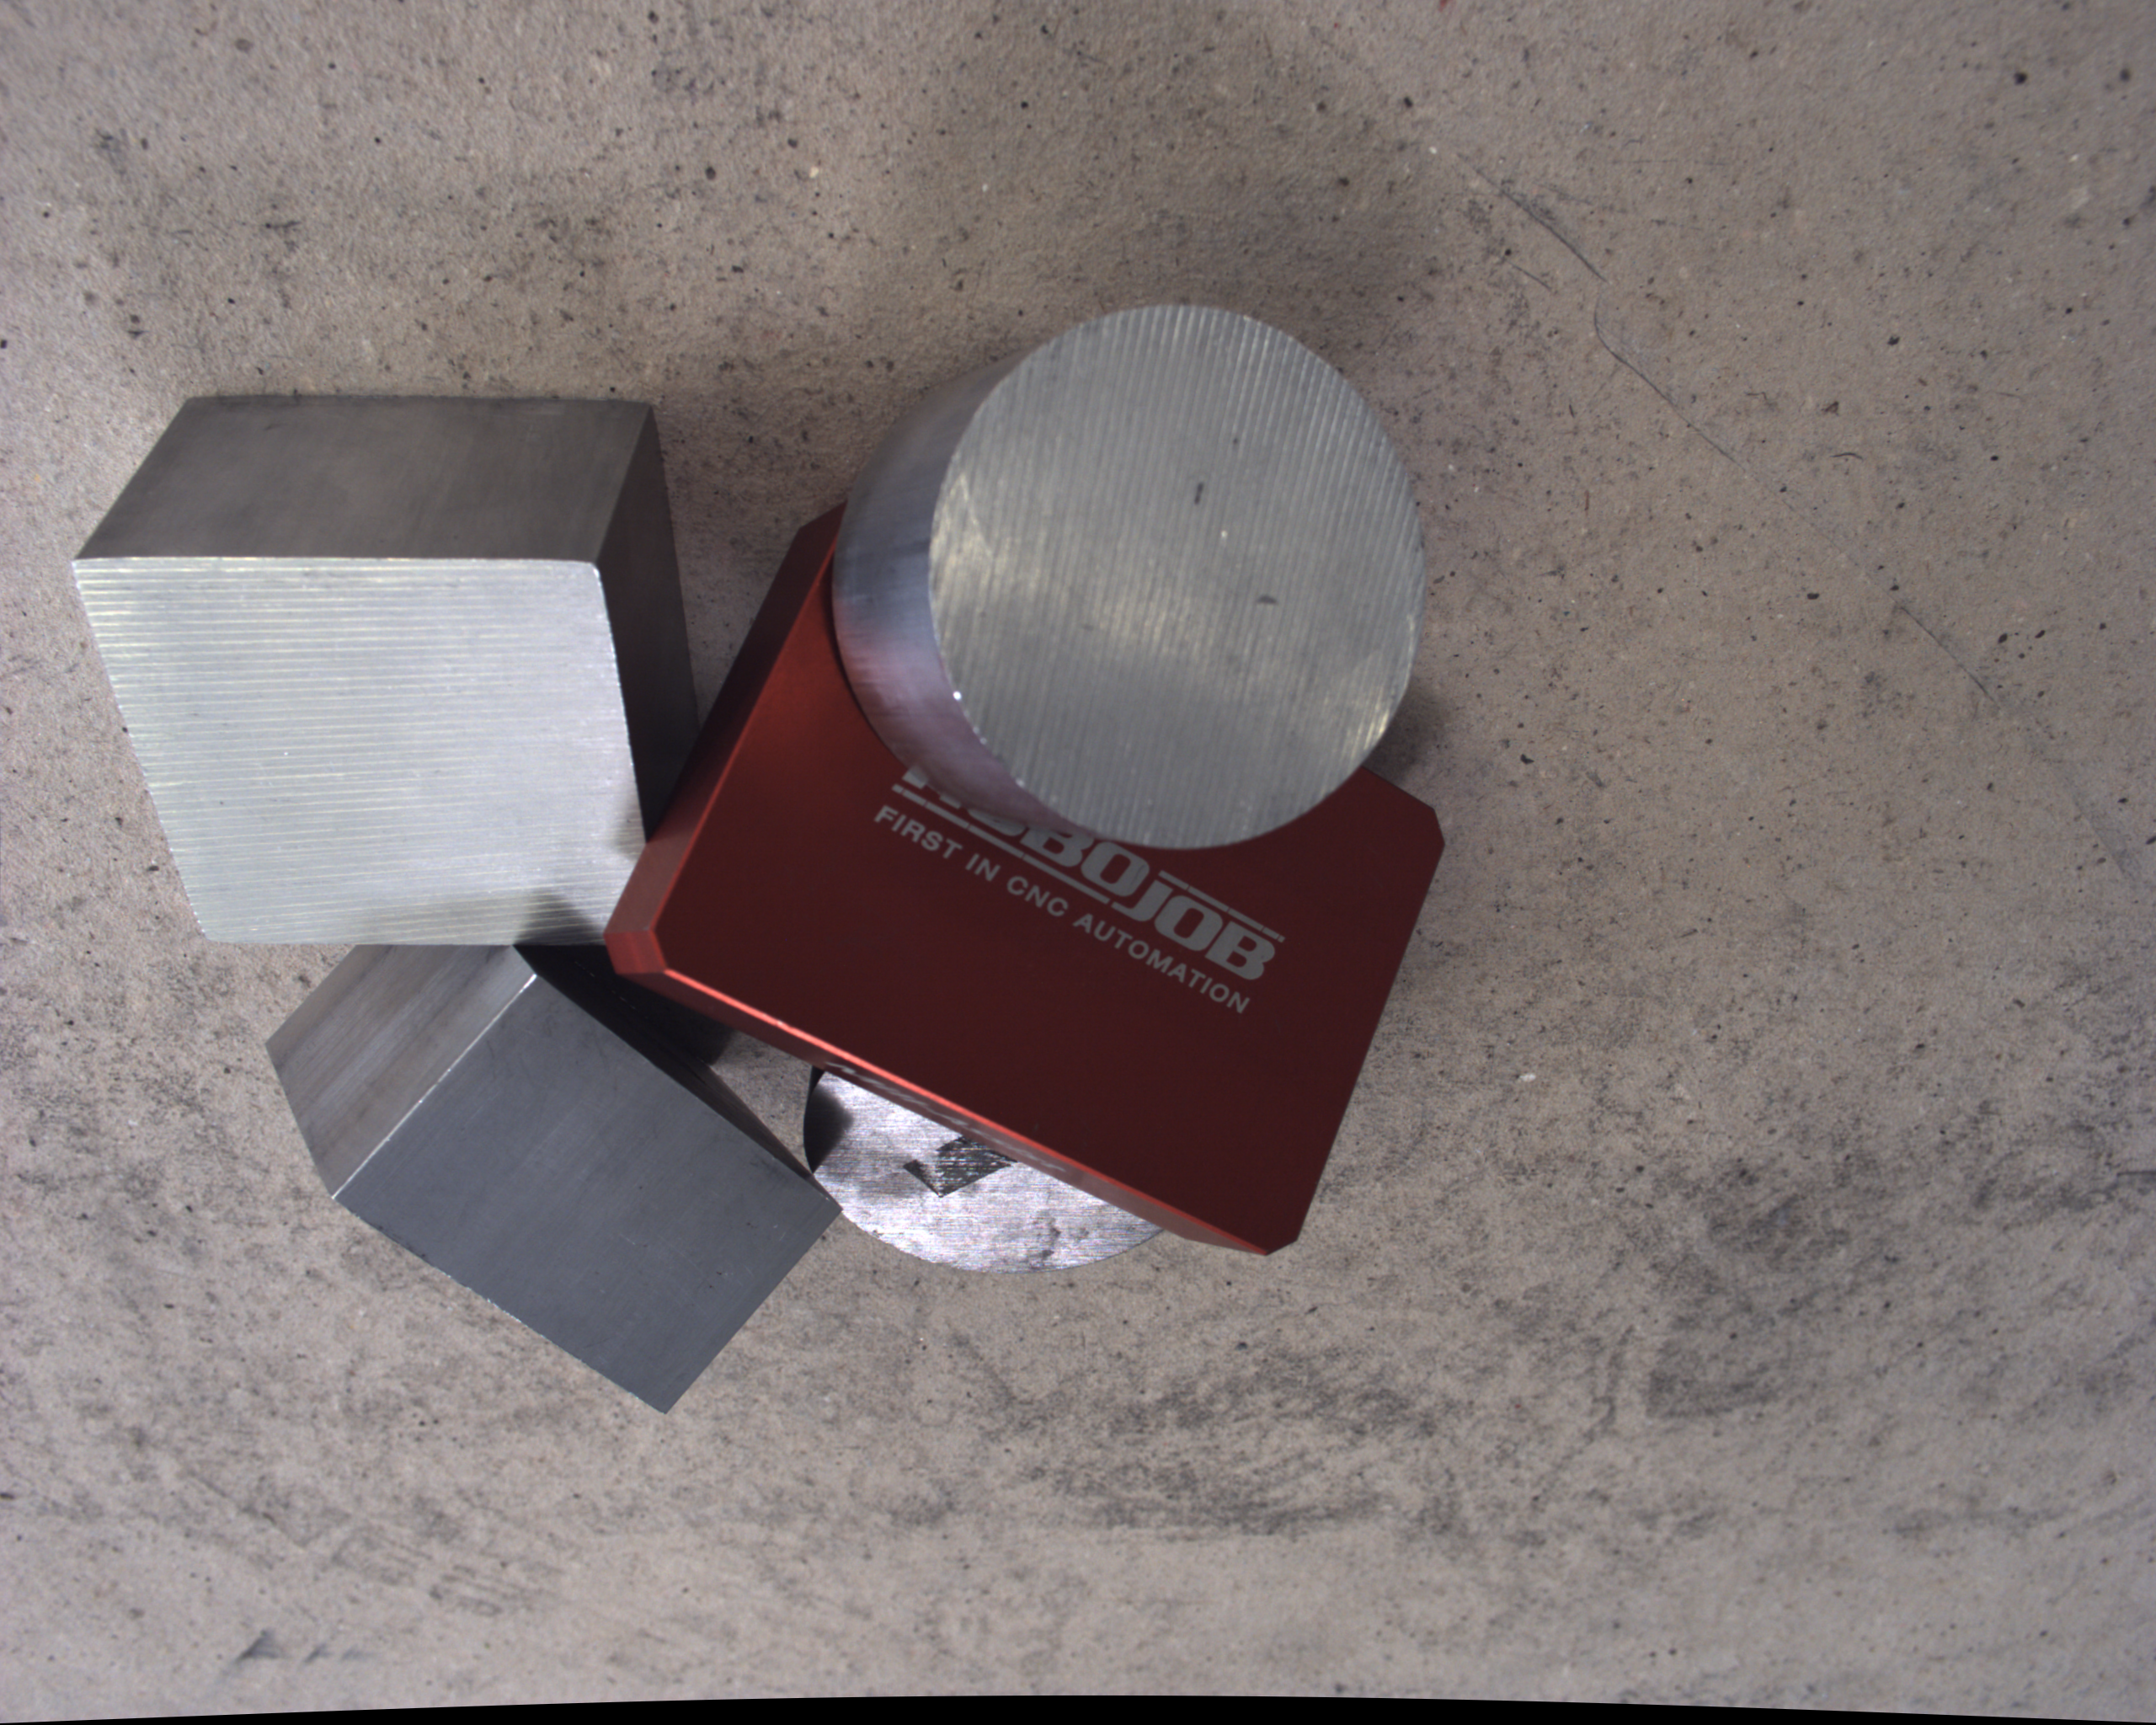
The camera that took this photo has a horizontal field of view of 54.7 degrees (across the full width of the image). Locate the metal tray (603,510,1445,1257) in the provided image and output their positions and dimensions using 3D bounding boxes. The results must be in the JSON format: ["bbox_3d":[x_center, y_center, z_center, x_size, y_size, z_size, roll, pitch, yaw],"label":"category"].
[{"bbox_3d":[-0.005,0.004,0.371,0.131,0.090,0.030,29,164,-22],"label":"metal tray"}]

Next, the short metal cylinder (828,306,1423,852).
[{"bbox_3d":[0.006,-0.043,0.330,0.081,0.050,0.079,-2,95,-23],"label":"short metal cylinder"}]

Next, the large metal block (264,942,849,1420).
[{"bbox_3d":[-0.103,0.051,0.406,0.050,0.080,0.080,-50,122,-7],"label":"large metal block"}]

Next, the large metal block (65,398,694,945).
[{"bbox_3d":[-0.114,-0.032,0.361,0.081,0.050,0.079,1,130,-1],"label":"large metal block"}]

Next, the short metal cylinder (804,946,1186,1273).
[{"bbox_3d":[-0.013,0.039,0.426,0.081,0.050,0.079,0,130,0],"label":"short metal cylinder"}]
